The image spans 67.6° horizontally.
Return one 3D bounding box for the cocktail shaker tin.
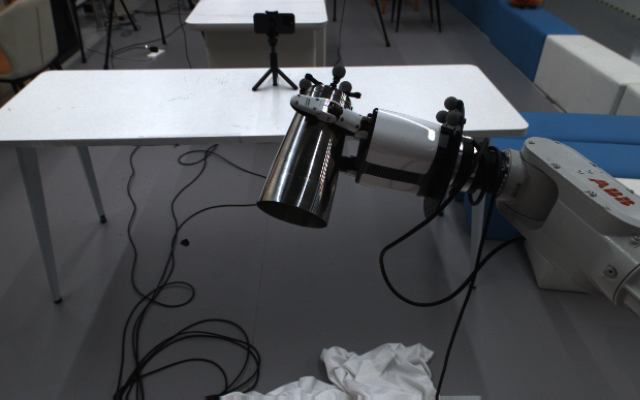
[{"bbox_3d":[-0.011,-0.062,0.626,0.093,0.093,0.170,12,72,14],"label":"cocktail shaker tin"}]
